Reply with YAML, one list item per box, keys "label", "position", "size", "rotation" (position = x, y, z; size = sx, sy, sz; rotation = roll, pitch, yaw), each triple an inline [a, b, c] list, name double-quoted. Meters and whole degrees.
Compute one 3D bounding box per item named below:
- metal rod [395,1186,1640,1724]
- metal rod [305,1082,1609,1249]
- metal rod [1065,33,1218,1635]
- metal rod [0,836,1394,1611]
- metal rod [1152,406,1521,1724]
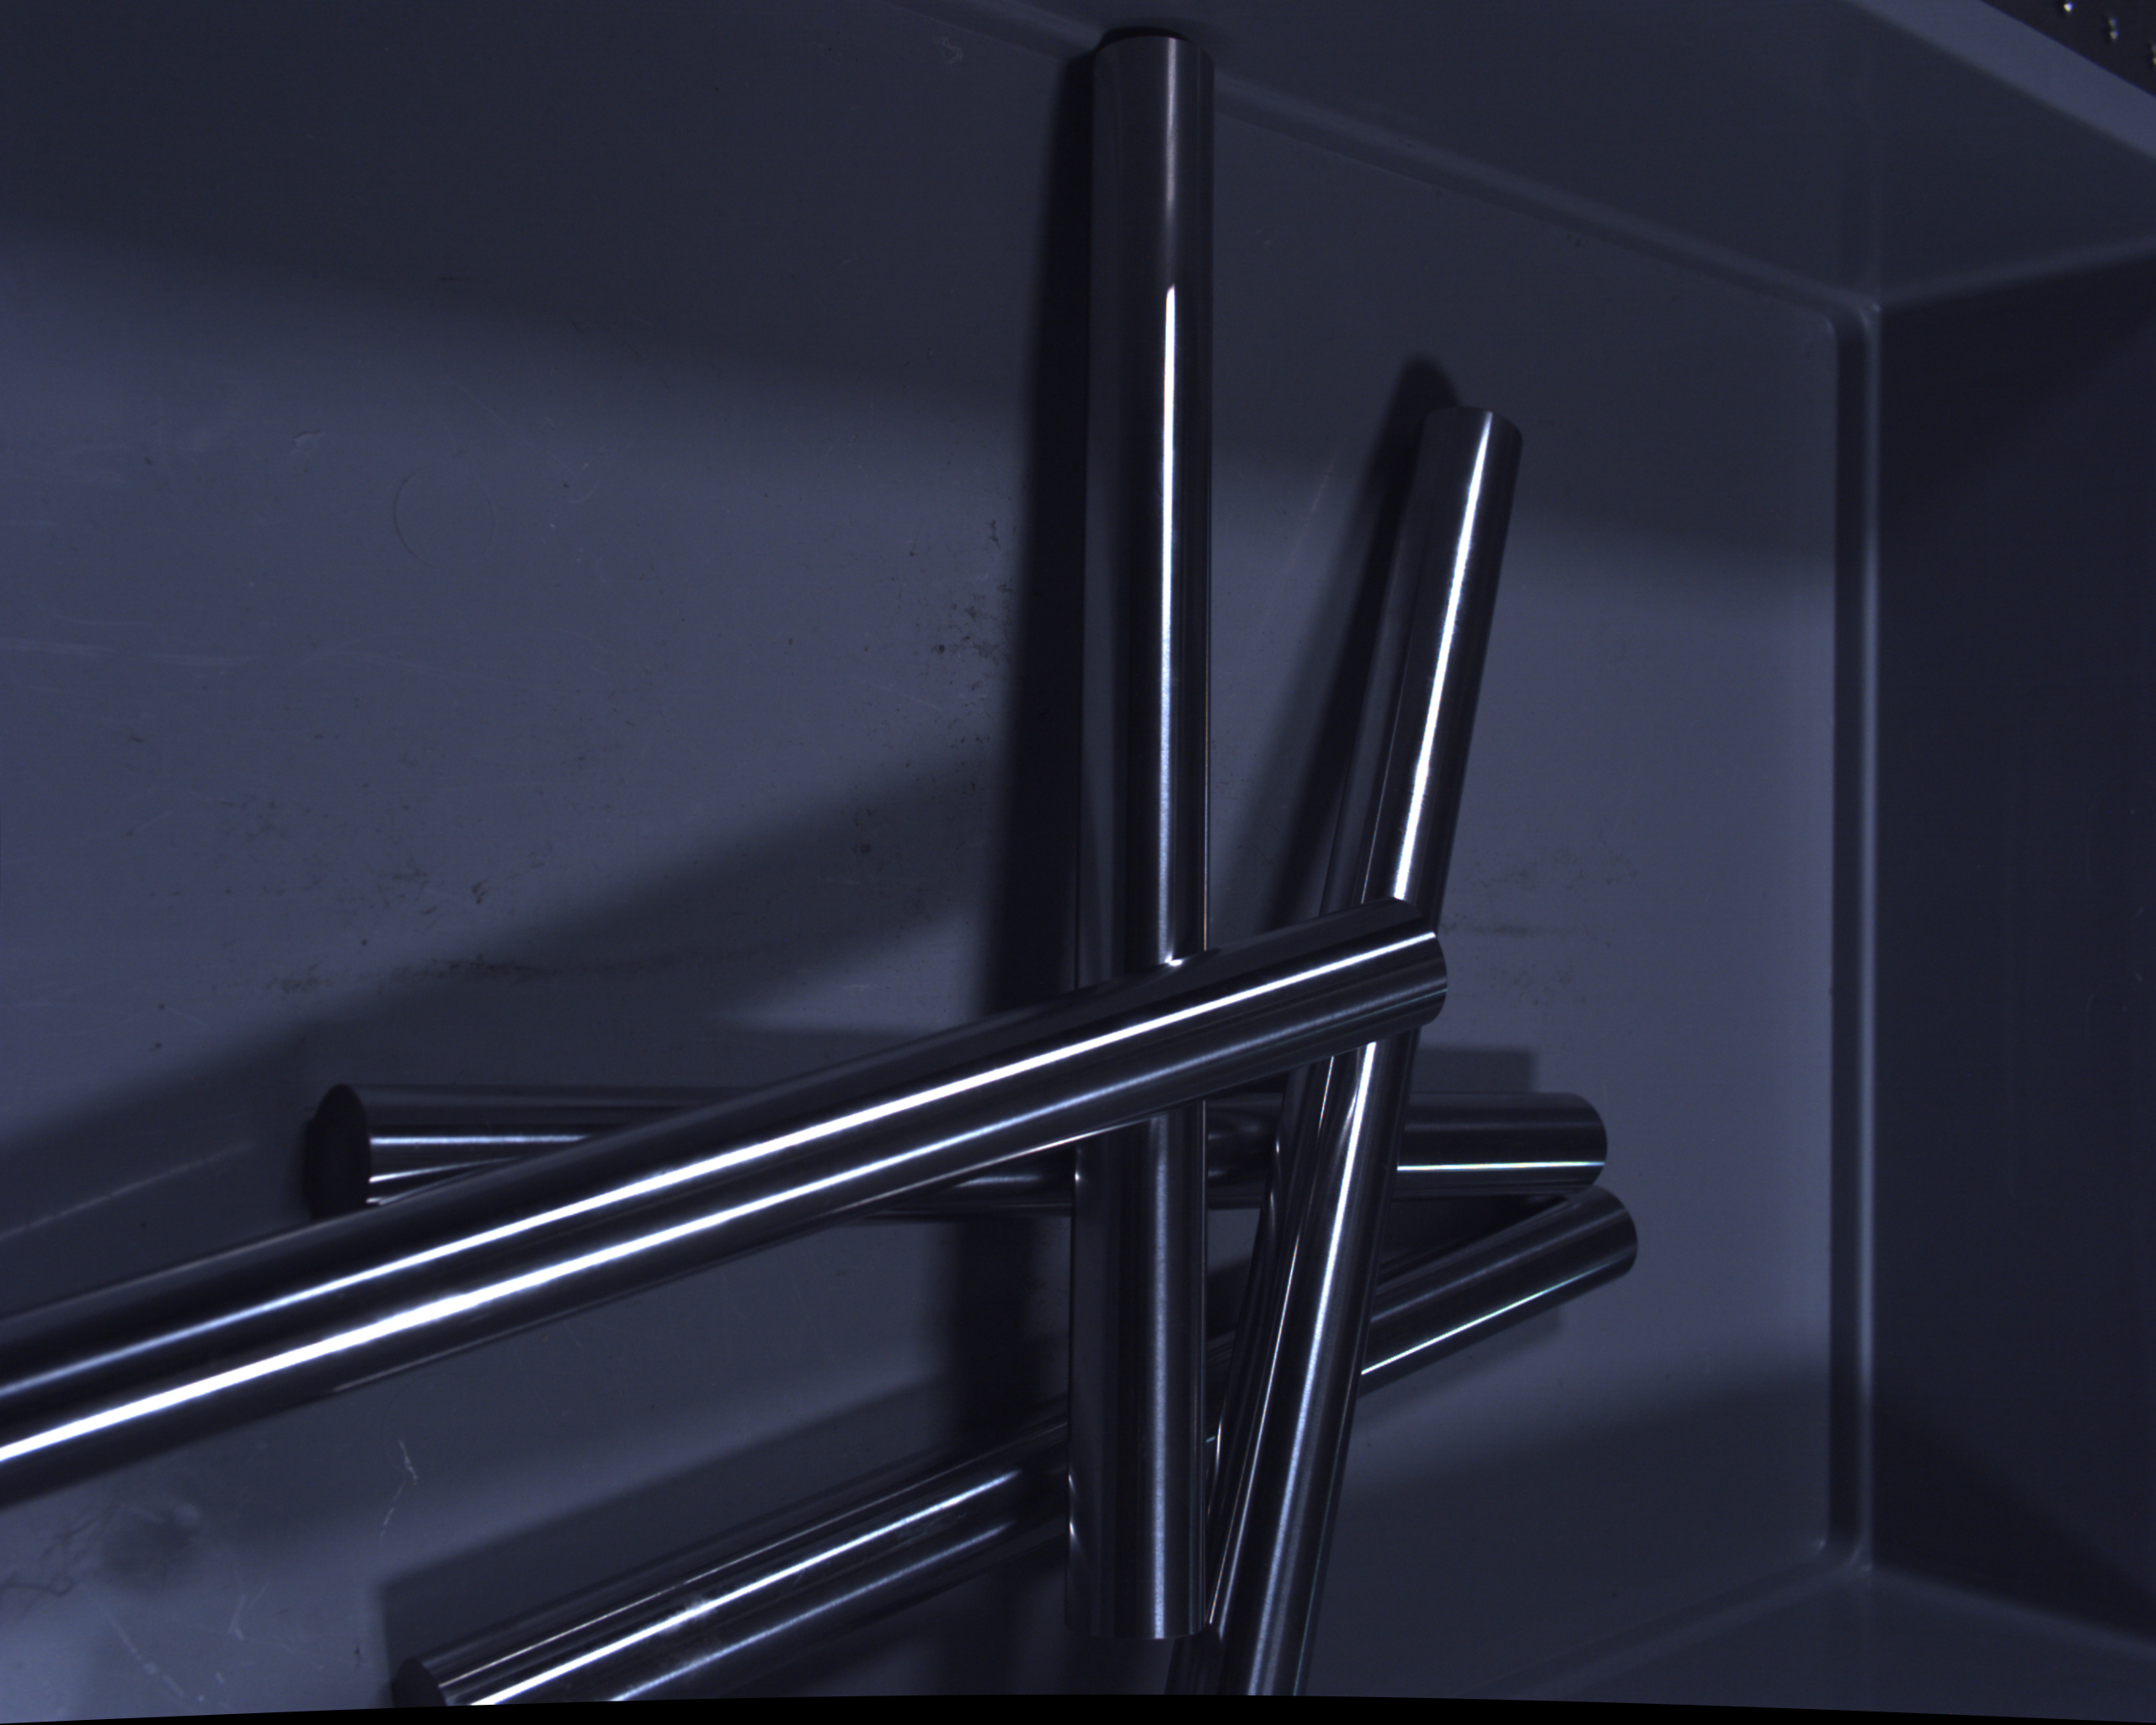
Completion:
- label: "metal rod"
  position: [0.014, 0.114, 0.419]
  size: [0.302, 0.025, 0.025]
  rotation: [-11, 97, -40]
- label: "metal rod"
  position: [0.004, 0.057, 0.410]
  size: [0.302, 0.025, 0.025]
  rotation: [6, 87, -40]
- label: "metal rod"
  position: [0.013, -0.012, 0.395]
  size: [0.025, 0.025, 0.298]
  rotation: [9, 78, -40]
- label: "metal rod"
  position: [-0.067, 0.054, 0.317]
  size: [0.302, 0.025, 0.025]
  rotation: [-22, 104, -32]
- label: "metal rod"
  position: [0.056, 0.037, 0.428]
  size: [0.025, 0.025, 0.299]
  rotation: [31, 63, -36]
